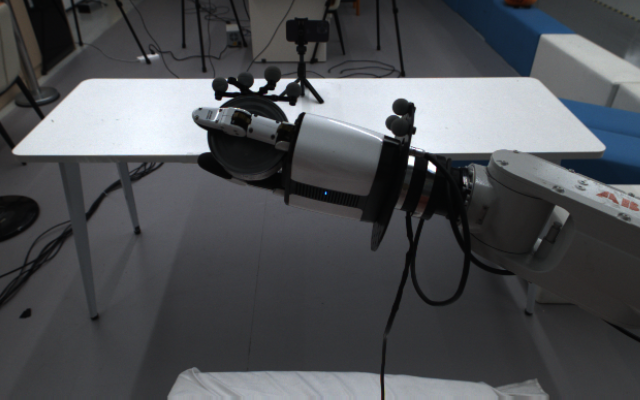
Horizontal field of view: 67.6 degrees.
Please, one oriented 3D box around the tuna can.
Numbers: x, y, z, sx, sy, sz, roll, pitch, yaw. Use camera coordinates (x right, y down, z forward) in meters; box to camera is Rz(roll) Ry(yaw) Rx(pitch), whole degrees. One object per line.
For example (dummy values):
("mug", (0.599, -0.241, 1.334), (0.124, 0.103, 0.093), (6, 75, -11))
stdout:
("tuna can", (-0.072, -0.065, 0.513), (0.085, 0.034, 0.085), (0, 77, 0))
